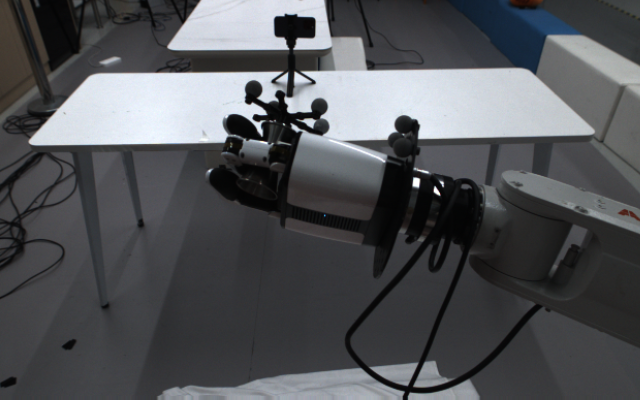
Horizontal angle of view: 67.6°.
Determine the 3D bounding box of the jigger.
[{"bbox_3d":[-0.048,-0.039,0.485,0.043,0.043,0.071,12,71,14],"label":"jigger"}]
